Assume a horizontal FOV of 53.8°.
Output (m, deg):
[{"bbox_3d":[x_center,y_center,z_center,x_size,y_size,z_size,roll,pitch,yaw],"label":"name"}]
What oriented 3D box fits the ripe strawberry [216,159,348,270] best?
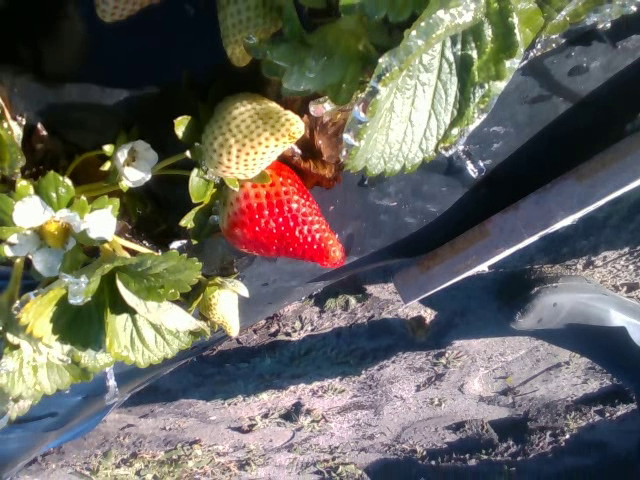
[{"bbox_3d":[-0.012,-0.005,0.228,0.053,0.042,0.040,34,-24,3],"label":"ripe strawberry"}]
